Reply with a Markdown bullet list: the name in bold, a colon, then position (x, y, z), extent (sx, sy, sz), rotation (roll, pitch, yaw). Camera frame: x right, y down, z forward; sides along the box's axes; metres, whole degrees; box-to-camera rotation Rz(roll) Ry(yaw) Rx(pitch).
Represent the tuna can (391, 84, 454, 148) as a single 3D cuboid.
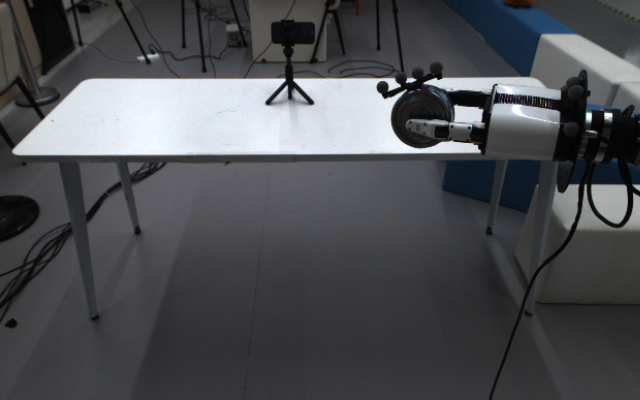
- **tuna can**: position (0.146, -0.120, 0.687), extent (0.085, 0.085, 0.034), rotation (15, 29, 17)
